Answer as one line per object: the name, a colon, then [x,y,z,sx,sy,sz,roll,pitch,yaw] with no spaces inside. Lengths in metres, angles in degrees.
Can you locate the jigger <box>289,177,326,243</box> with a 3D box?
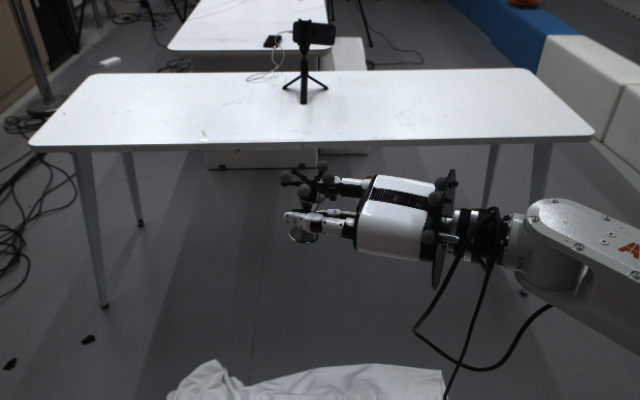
jigger: [-0.019,0.021,0.687,0.043,0.071,0.043,9,30,-5]
